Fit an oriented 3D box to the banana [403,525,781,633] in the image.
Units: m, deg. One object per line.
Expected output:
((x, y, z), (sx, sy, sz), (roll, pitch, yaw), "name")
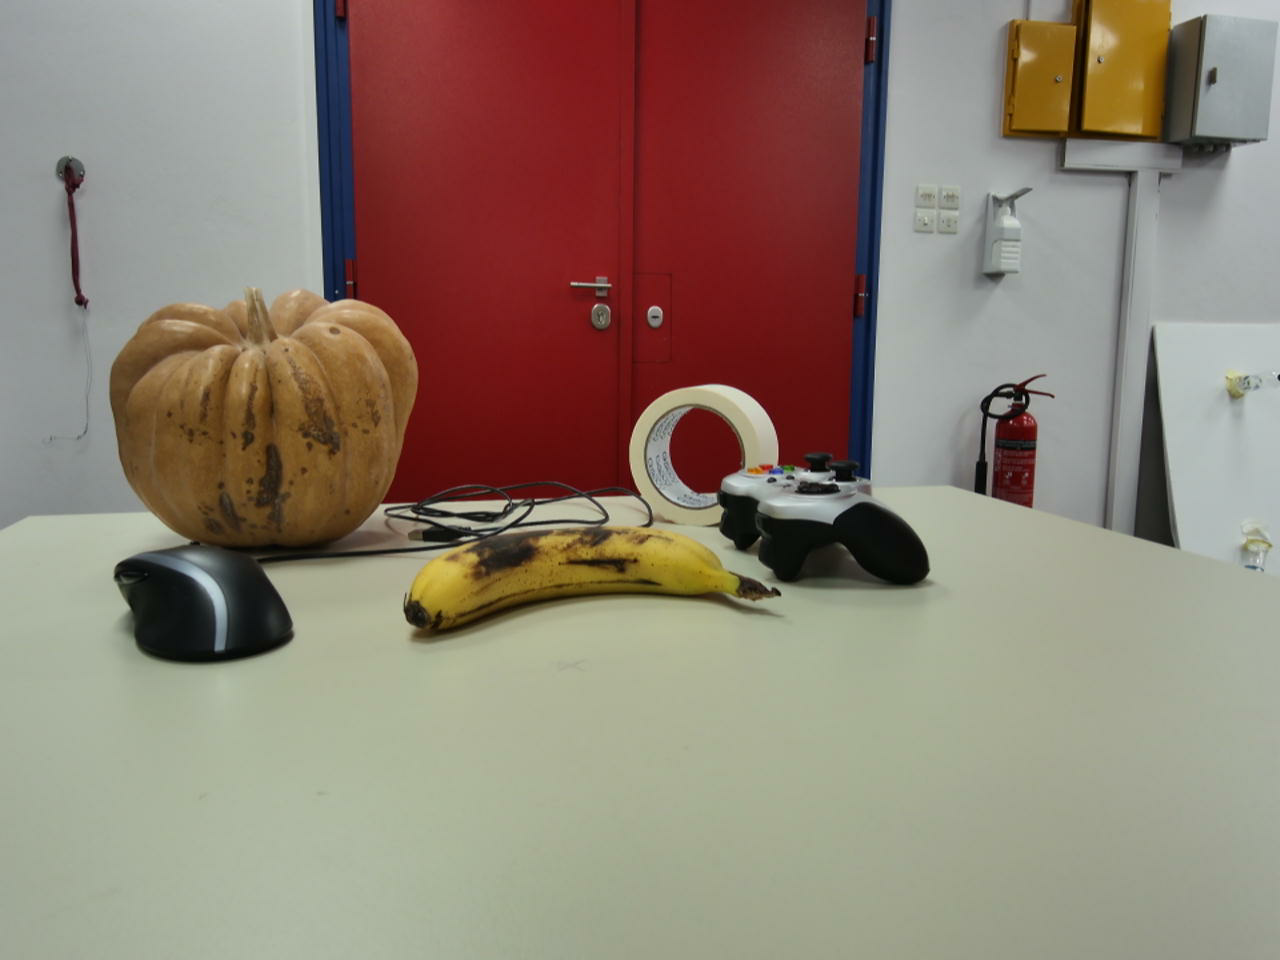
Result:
((-0.030, 0.049, 0.530), (0.187, 0.039, 0.094), (-2, 7, -15), "banana")
